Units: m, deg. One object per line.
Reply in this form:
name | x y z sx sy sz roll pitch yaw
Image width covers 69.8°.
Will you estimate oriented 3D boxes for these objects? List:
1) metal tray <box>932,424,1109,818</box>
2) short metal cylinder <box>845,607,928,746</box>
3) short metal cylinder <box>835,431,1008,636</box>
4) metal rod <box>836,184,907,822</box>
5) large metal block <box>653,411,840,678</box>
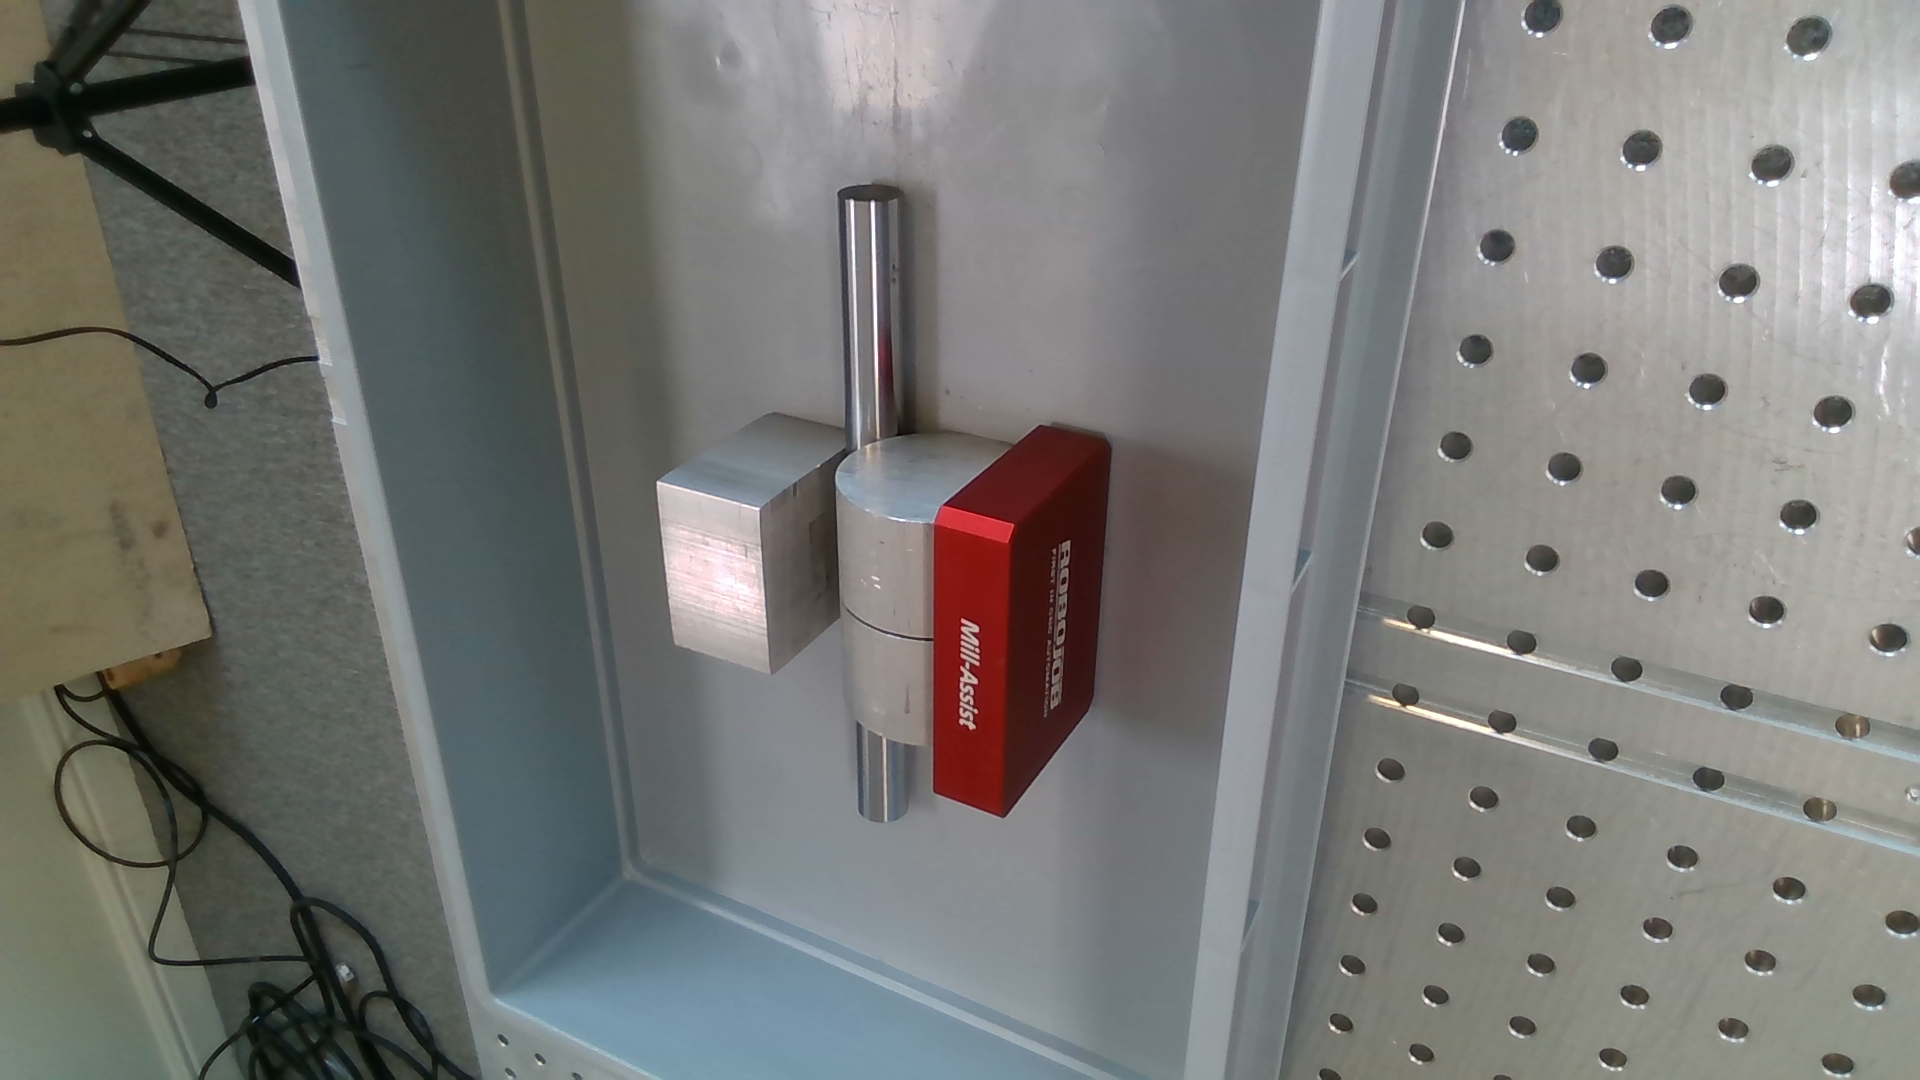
metal tray | 0.024 0.031 0.539 0.030 0.090 0.130 15 122 24
short metal cylinder | -0.009 0.041 0.573 0.080 0.080 0.050 16 122 24
short metal cylinder | -0.009 -0.004 0.548 0.080 0.080 0.050 15 122 24
metal rod | -0.036 -0.002 0.600 0.025 0.025 0.301 15 122 24
large metal block | -0.083 0.000 0.593 0.050 0.080 0.080 15 122 24
